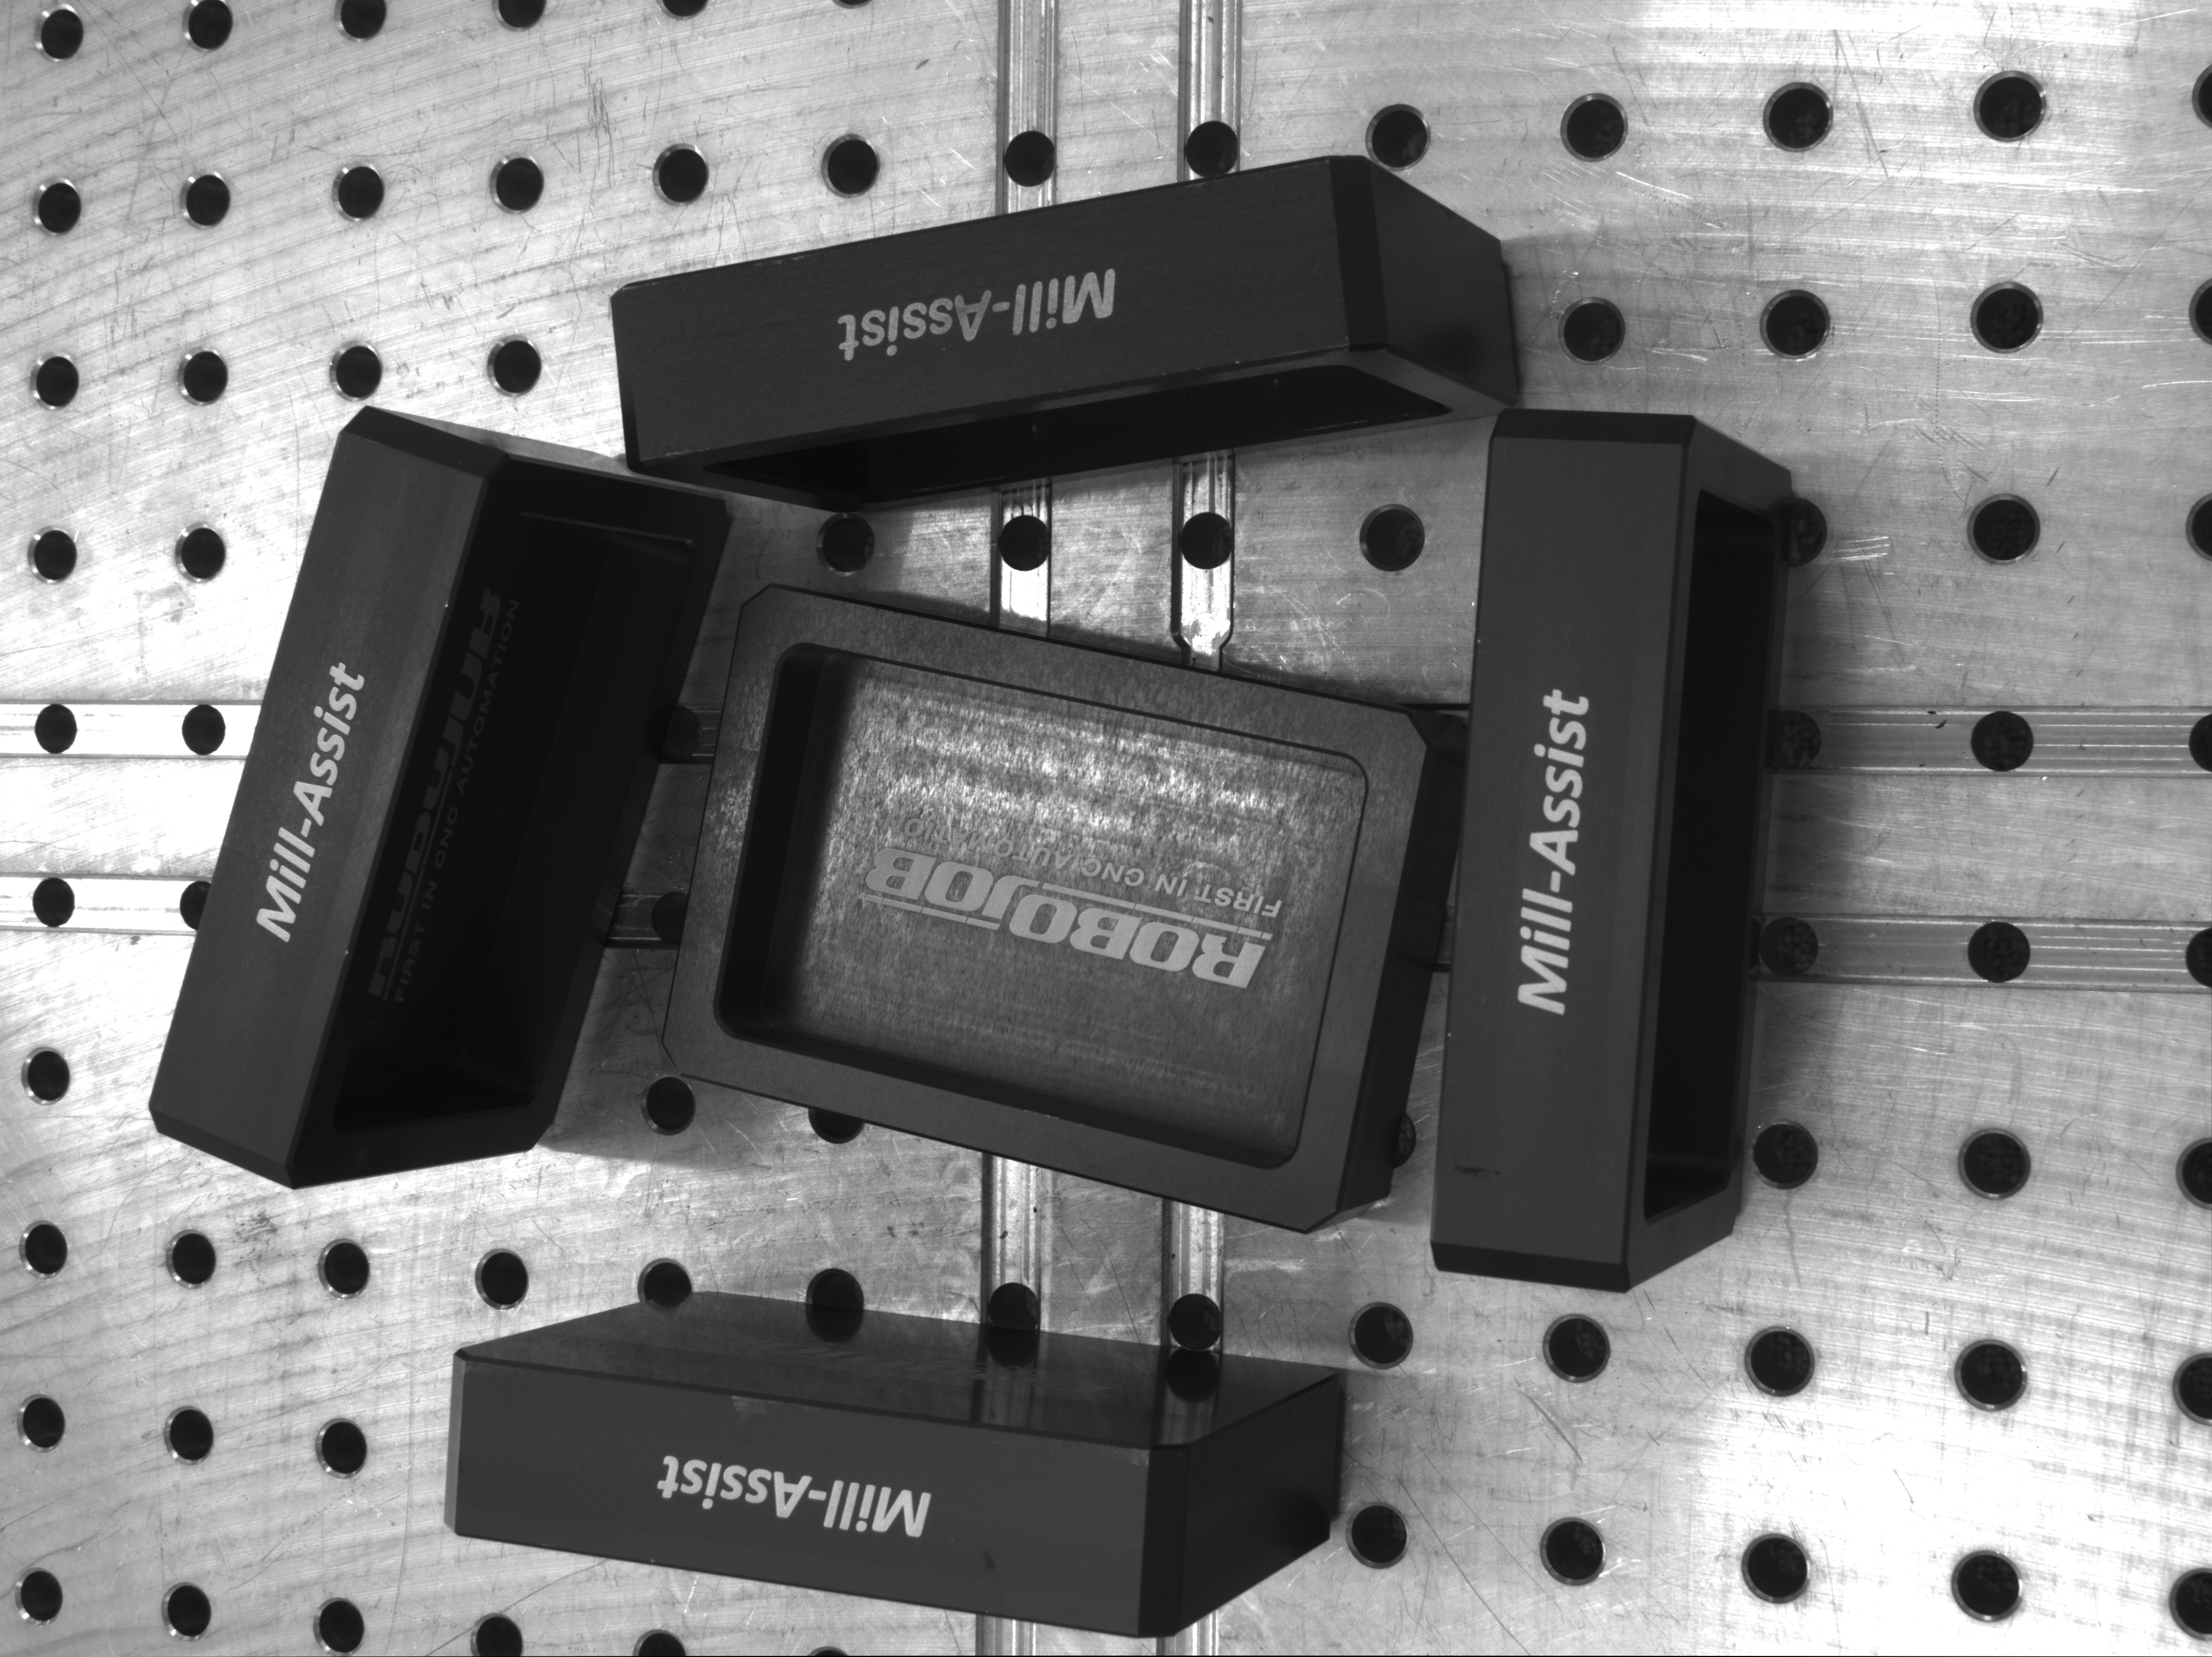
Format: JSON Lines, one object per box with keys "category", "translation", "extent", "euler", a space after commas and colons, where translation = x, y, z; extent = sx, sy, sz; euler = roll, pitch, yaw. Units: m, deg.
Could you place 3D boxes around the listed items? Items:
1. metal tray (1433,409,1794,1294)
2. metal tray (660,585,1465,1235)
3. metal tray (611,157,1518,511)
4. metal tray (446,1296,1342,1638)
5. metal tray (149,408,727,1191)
{"category": "metal tray", "translation": [0.083, 0.003, 0.585], "extent": [0.030, 0.090, 0.130], "euler": [5, 91, 20]}
{"category": "metal tray", "translation": [-0.008, 0.013, 0.649], "extent": [0.130, 0.030, 0.090], "euler": [12, 94, 19]}
{"category": "metal tray", "translation": [-0.005, -0.080, 0.616], "extent": [0.130, 0.090, 0.030], "euler": [-7, 88, 20]}
{"category": "metal tray", "translation": [-0.034, 0.106, 0.627], "extent": [0.130, 0.090, 0.030], "euler": [4, 91, 20]}
{"category": "metal tray", "translation": [-0.117, -0.004, 0.657], "extent": [0.030, 0.090, 0.130], "euler": [19, 96, 20]}
